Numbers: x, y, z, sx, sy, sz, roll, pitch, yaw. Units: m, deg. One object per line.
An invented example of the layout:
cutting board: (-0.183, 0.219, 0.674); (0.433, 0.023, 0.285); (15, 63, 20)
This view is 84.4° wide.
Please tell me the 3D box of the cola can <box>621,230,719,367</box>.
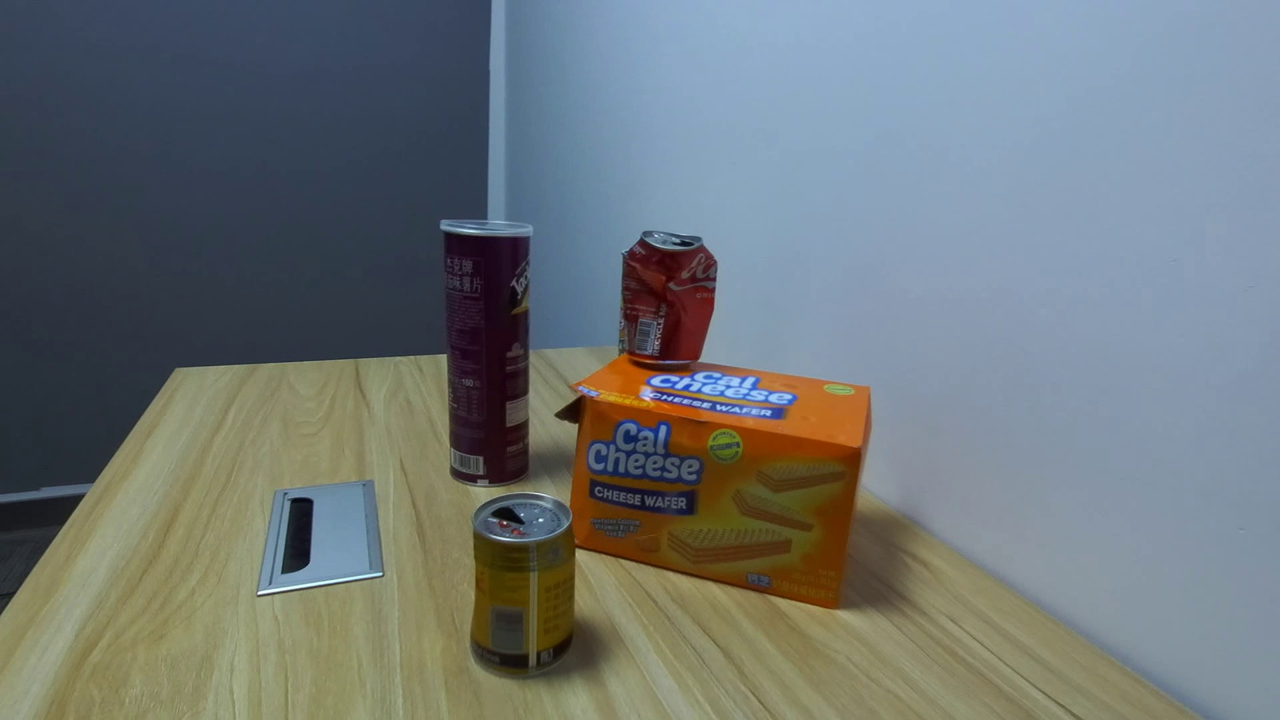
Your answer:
cola can: (0.021, -0.052, 0.603); (0.069, 0.112, 0.066); (17, 21, 33)

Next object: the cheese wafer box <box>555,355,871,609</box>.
cheese wafer box: (0.065, 0.082, 0.578); (0.226, 0.137, 0.150); (9, 18, 18)

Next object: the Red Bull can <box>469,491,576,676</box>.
Red Bull can: (-0.073, 0.137, 0.439); (0.069, 0.092, 0.069); (4, 16, -1)

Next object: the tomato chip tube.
tomato chip tube: (-0.142, -0.005, 0.661); (0.078, 0.233, 0.078); (3, 16, -1)
